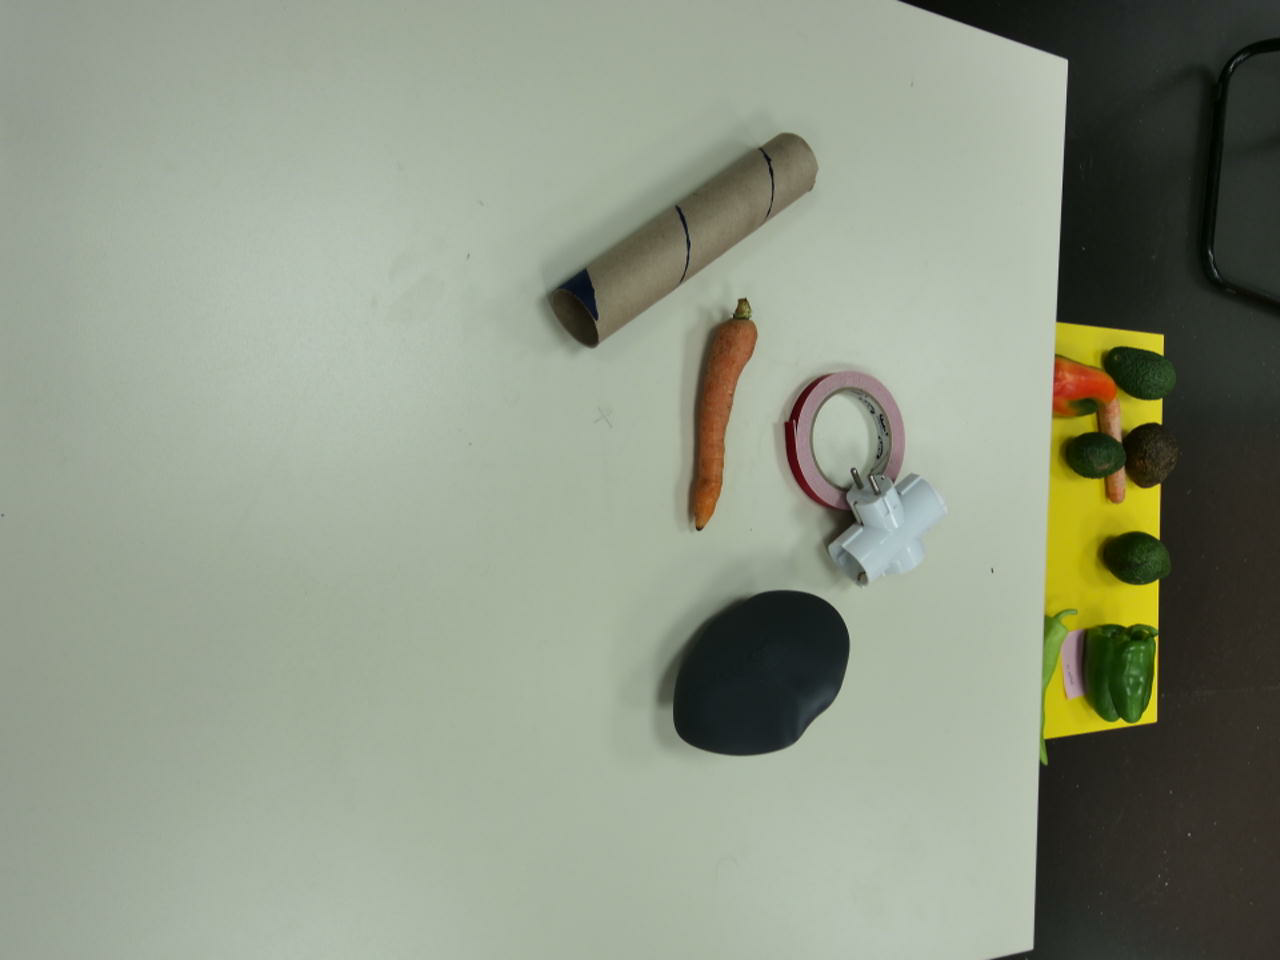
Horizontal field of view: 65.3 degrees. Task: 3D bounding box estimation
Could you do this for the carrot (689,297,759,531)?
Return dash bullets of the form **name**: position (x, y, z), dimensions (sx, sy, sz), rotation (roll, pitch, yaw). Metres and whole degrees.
- **carrot**: position (0.058, -0.047, 0.718), dimensions (0.030, 0.032, 0.173), rotation (14, 84, -28)
